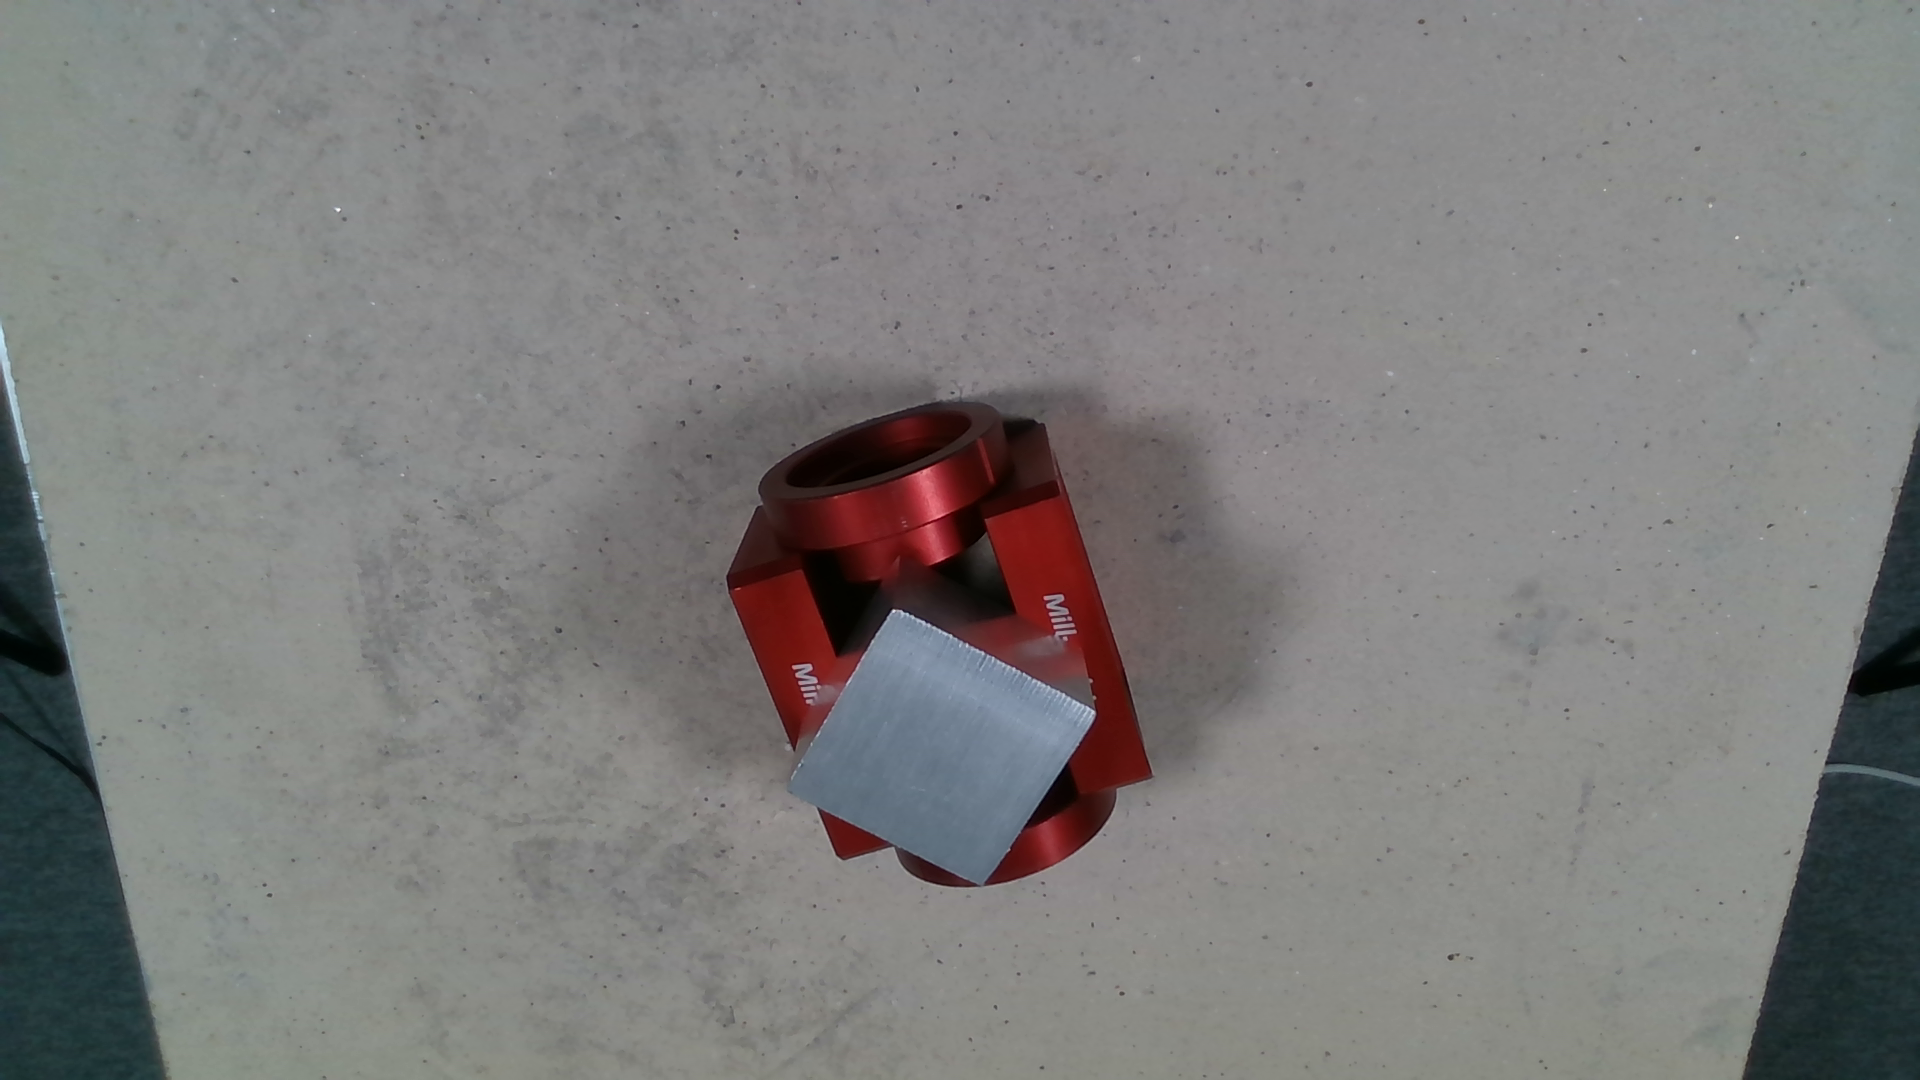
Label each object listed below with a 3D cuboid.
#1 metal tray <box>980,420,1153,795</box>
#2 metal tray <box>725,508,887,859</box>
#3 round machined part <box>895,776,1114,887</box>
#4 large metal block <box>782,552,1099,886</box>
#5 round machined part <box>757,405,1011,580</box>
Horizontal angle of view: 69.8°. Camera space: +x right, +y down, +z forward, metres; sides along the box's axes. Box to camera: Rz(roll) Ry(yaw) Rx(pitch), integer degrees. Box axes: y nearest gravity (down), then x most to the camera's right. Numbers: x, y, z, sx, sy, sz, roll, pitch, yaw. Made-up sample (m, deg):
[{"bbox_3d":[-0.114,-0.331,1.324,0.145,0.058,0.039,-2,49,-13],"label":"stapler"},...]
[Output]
[{"bbox_3d":[0.042,0.026,0.561,0.030,0.090,0.130,-17,109,6],"label":"metal tray"},{"bbox_3d":[-0.054,0.053,0.568,0.030,0.090,0.130,-17,109,6],"label":"metal tray"},{"bbox_3d":[0.013,0.100,0.583,0.098,0.098,0.042,-15,109,5],"label":"round machined part"},{"bbox_3d":[-0.007,0.064,0.497,0.080,0.050,0.080,28,108,-10],"label":"large metal block"},{"bbox_3d":[-0.026,-0.018,0.539,0.098,0.098,0.042,-15,109,5],"label":"round machined part"}]
